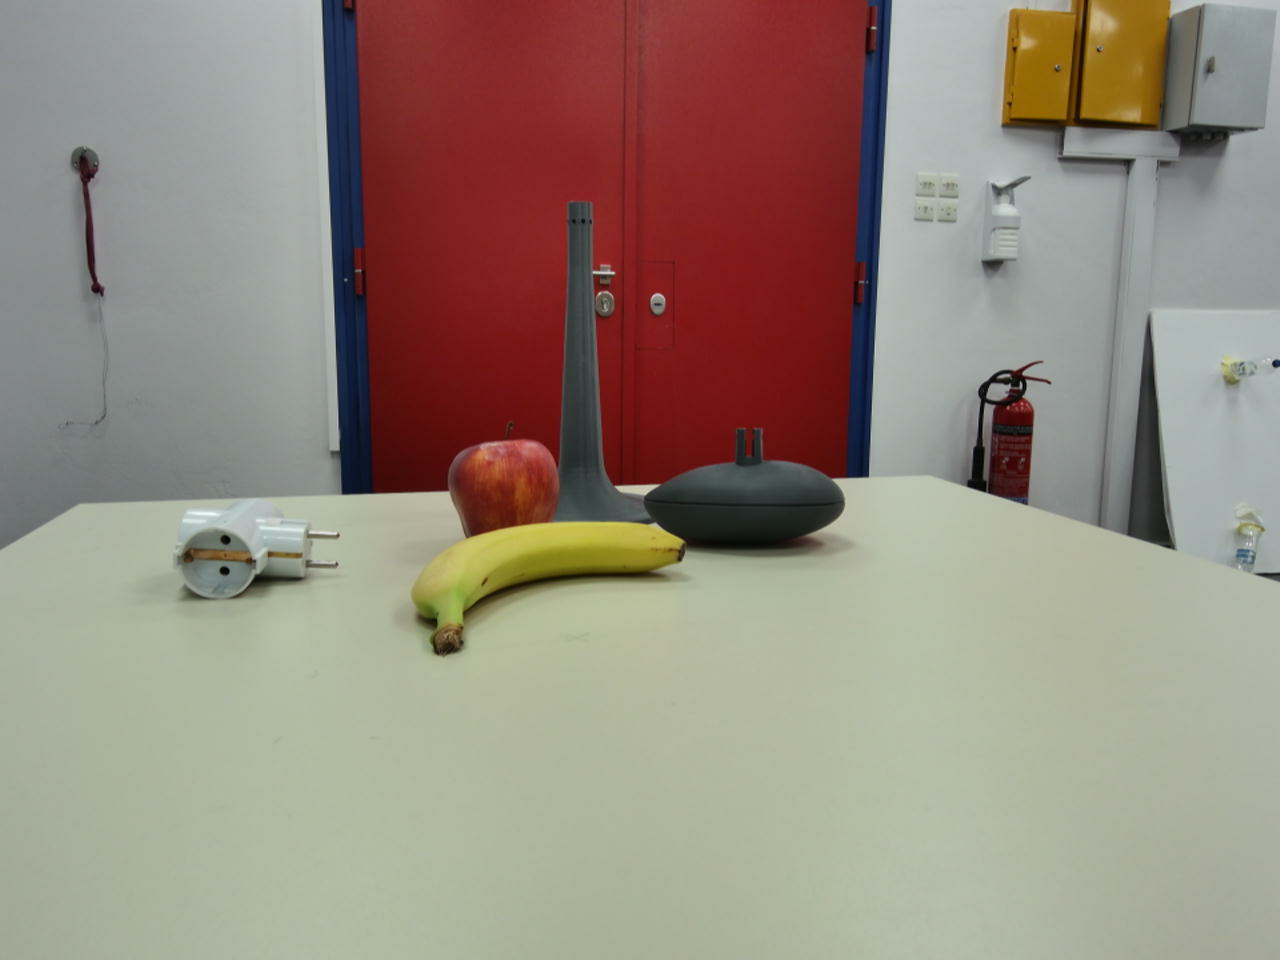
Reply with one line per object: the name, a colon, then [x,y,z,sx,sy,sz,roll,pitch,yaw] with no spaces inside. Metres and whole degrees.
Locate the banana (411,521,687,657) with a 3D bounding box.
banana: [-0.065,0.052,0.584,0.094,0.041,0.196,7,10,41]
